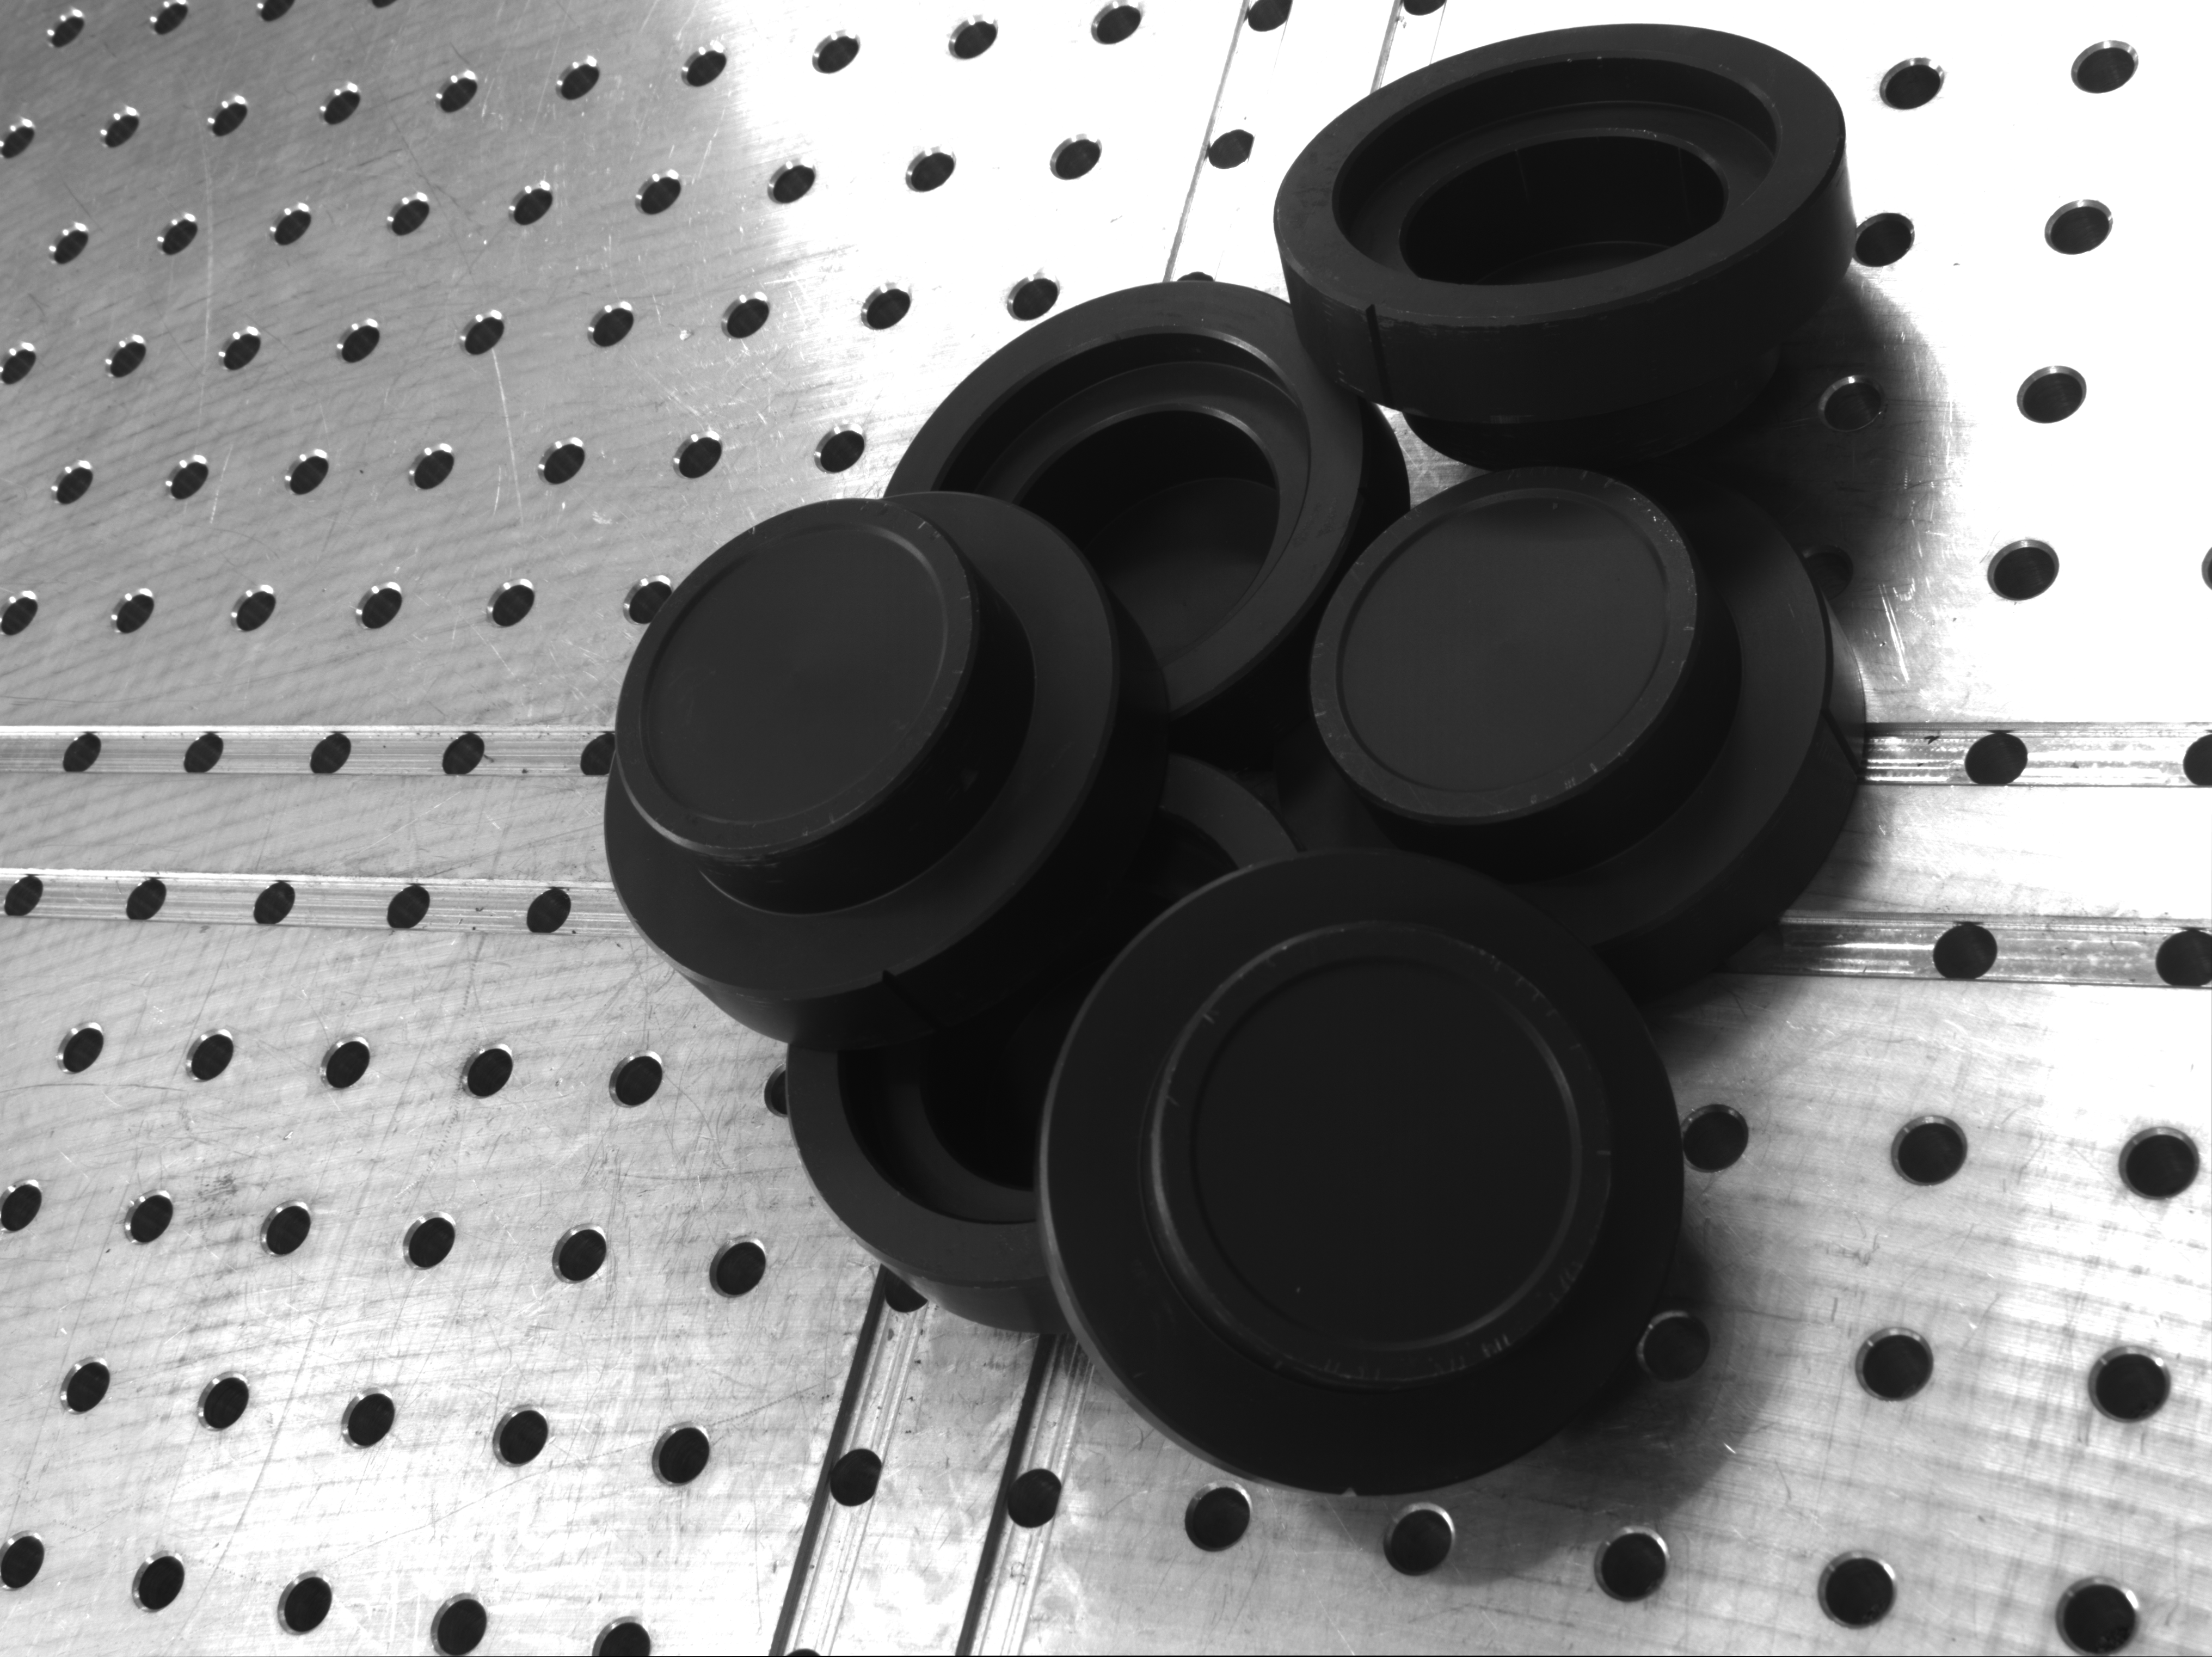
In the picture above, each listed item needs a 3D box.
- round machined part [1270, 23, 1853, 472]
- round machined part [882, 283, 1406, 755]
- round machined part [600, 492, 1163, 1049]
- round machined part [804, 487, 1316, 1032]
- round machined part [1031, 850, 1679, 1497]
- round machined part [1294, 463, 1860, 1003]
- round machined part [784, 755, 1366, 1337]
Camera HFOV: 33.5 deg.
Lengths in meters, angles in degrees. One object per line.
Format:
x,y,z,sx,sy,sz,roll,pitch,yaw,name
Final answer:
0.081,-0.098,0.640,0.098,0.042,0.098,-9,39,8,round machined part
0.009,-0.046,0.662,0.098,0.042,0.098,-14,56,21,round machined part
-0.043,-0.016,0.616,0.098,0.042,0.098,-14,56,21,round machined part
-0.008,-0.008,0.646,0.098,0.042,0.098,-14,56,21,round machined part
0.038,0.051,0.554,0.098,0.042,0.098,1,78,-4,round machined part
0.072,-0.021,0.611,0.098,0.042,0.098,-14,56,21,round machined part
-0.001,0.040,0.614,0.098,0.042,0.098,-14,56,21,round machined part
